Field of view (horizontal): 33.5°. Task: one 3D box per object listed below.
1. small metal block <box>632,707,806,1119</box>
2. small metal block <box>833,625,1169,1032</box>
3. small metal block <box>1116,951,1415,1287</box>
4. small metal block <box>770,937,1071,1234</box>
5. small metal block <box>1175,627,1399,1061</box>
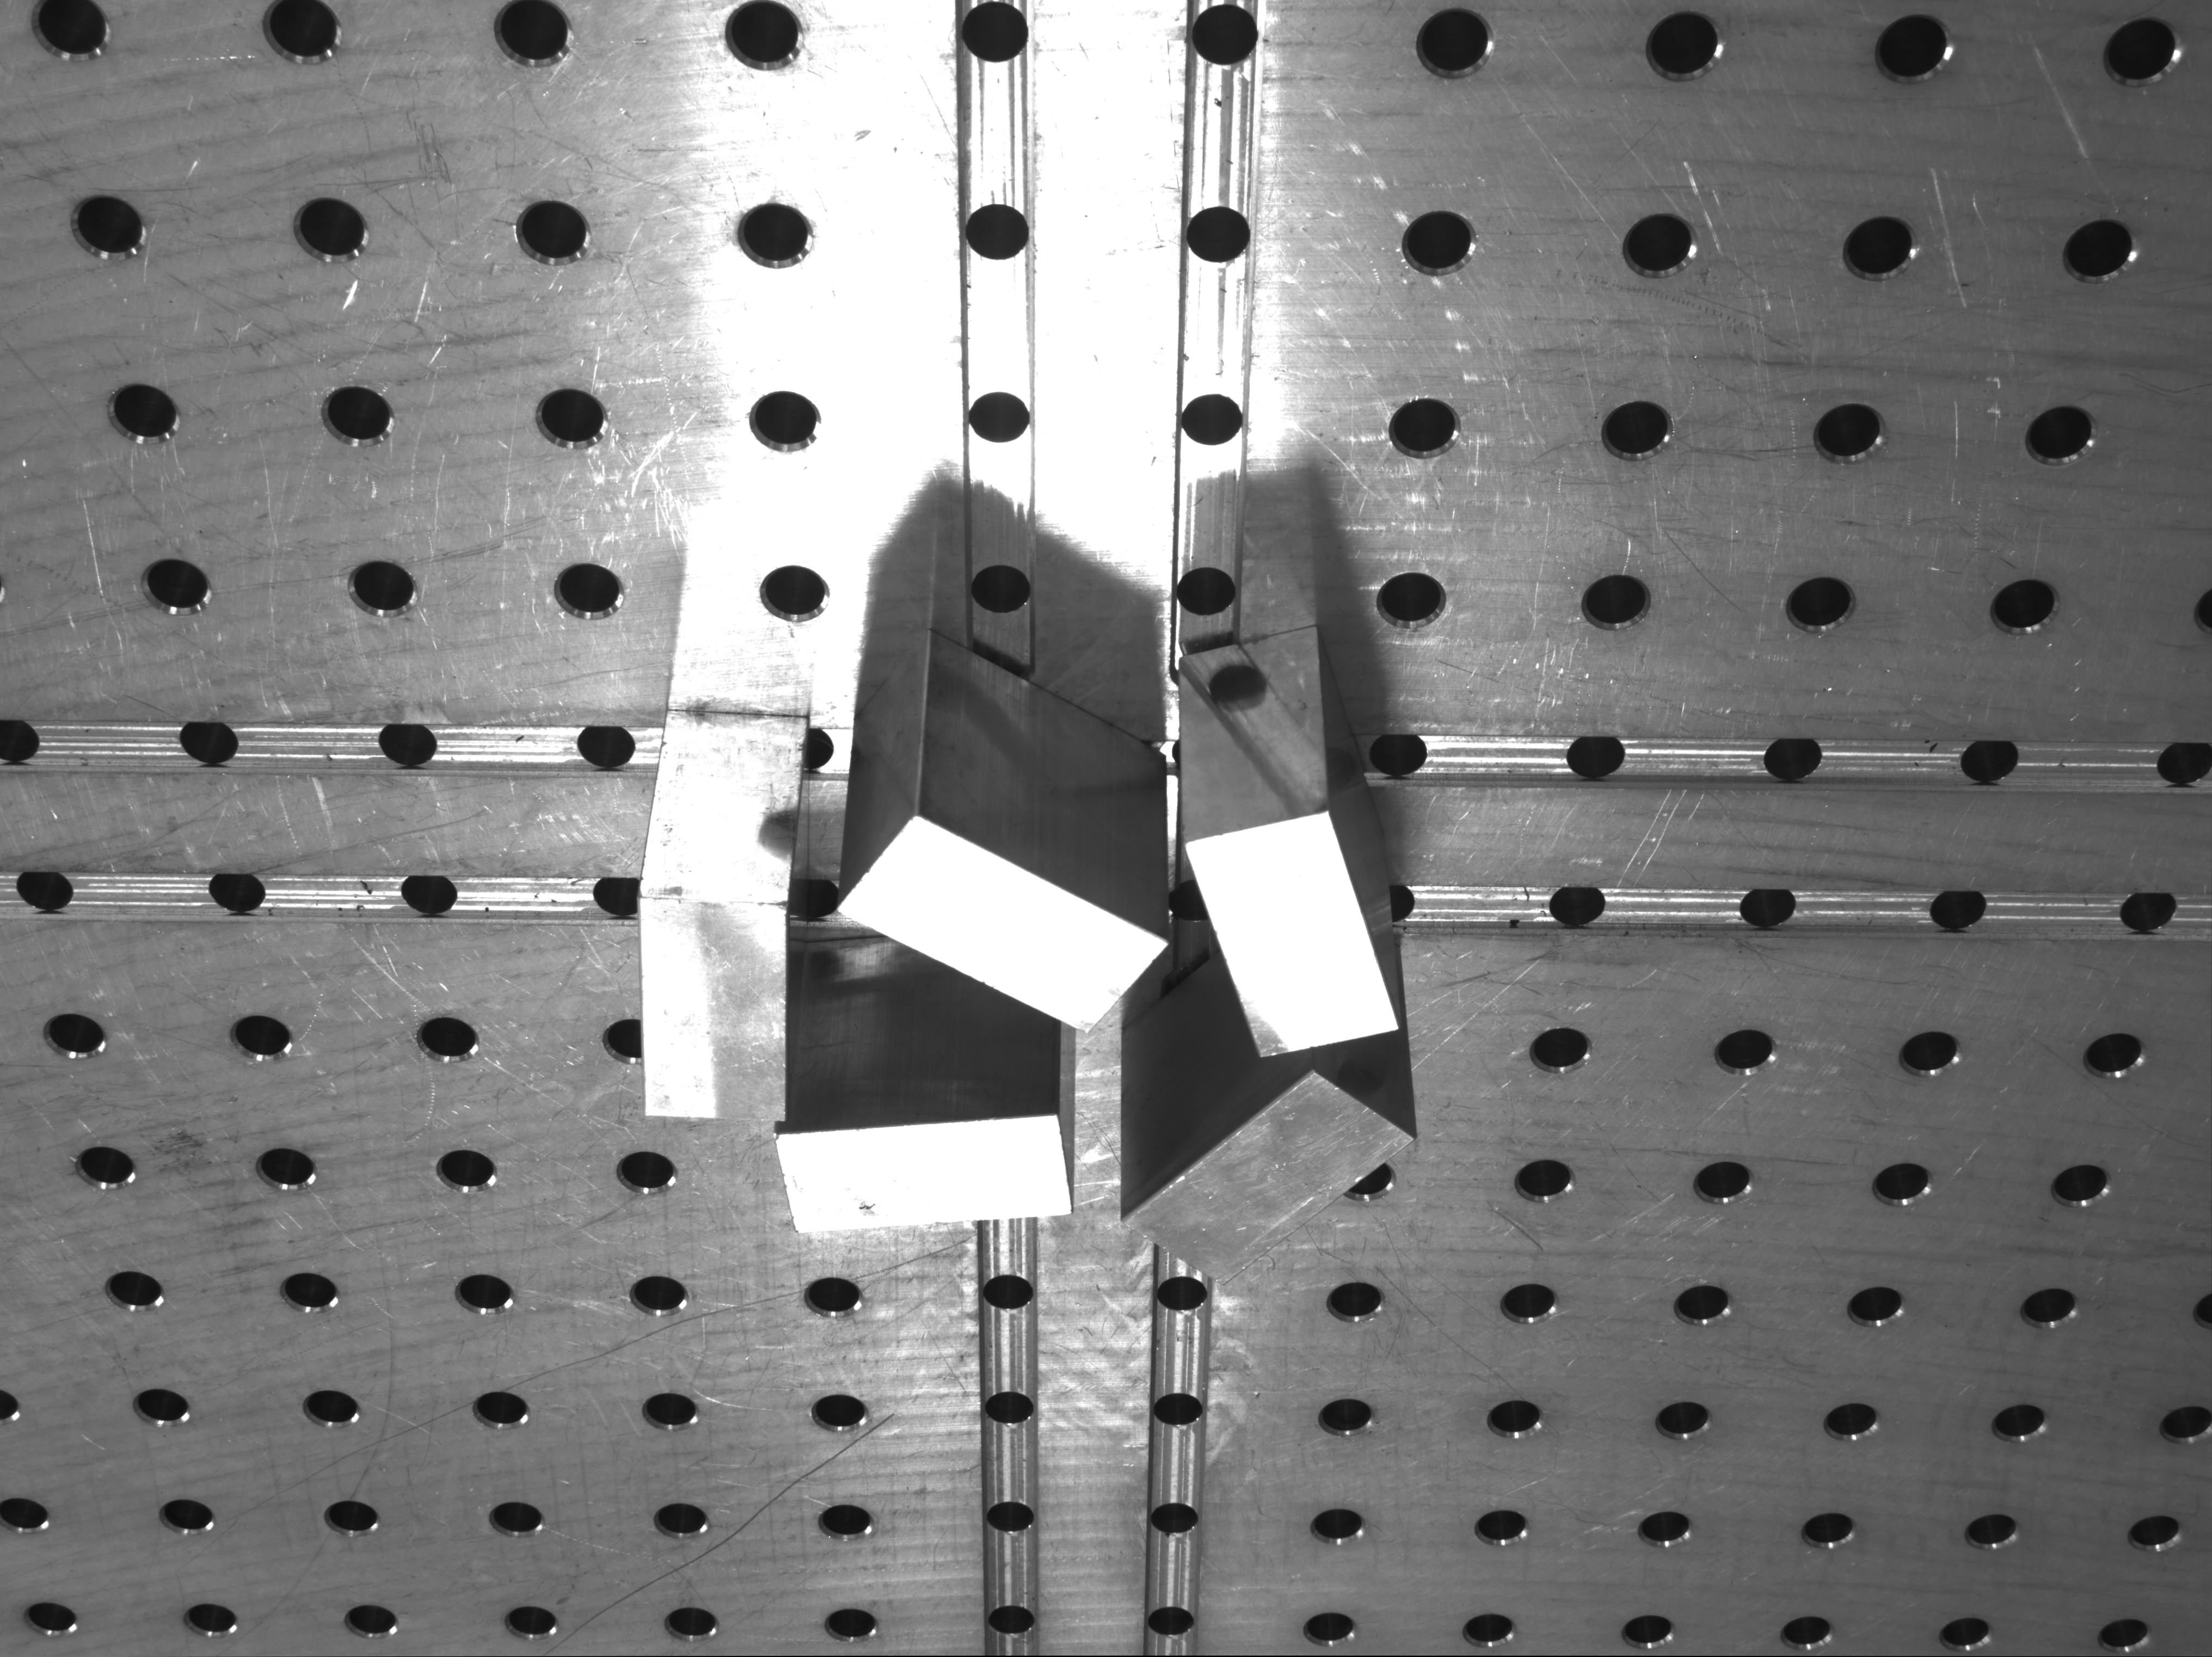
[{"bbox_3d":[-0.067,0.015,0.639,0.025,0.050,0.050,3,130,-2],"label":"small metal block"},{"bbox_3d":[-0.017,0.000,0.626,0.050,0.050,0.025,27,126,-21],"label":"small metal block"},{"bbox_3d":[0.028,0.046,0.665,0.025,0.050,0.050,35,122,-25],"label":"small metal block"},{"bbox_3d":[-0.032,0.045,0.664,0.050,0.050,0.025,-4,130,3],"label":"small metal block"},{"bbox_3d":[0.031,0.003,0.628,0.025,0.050,0.050,-13,128,10],"label":"small metal block"}]
